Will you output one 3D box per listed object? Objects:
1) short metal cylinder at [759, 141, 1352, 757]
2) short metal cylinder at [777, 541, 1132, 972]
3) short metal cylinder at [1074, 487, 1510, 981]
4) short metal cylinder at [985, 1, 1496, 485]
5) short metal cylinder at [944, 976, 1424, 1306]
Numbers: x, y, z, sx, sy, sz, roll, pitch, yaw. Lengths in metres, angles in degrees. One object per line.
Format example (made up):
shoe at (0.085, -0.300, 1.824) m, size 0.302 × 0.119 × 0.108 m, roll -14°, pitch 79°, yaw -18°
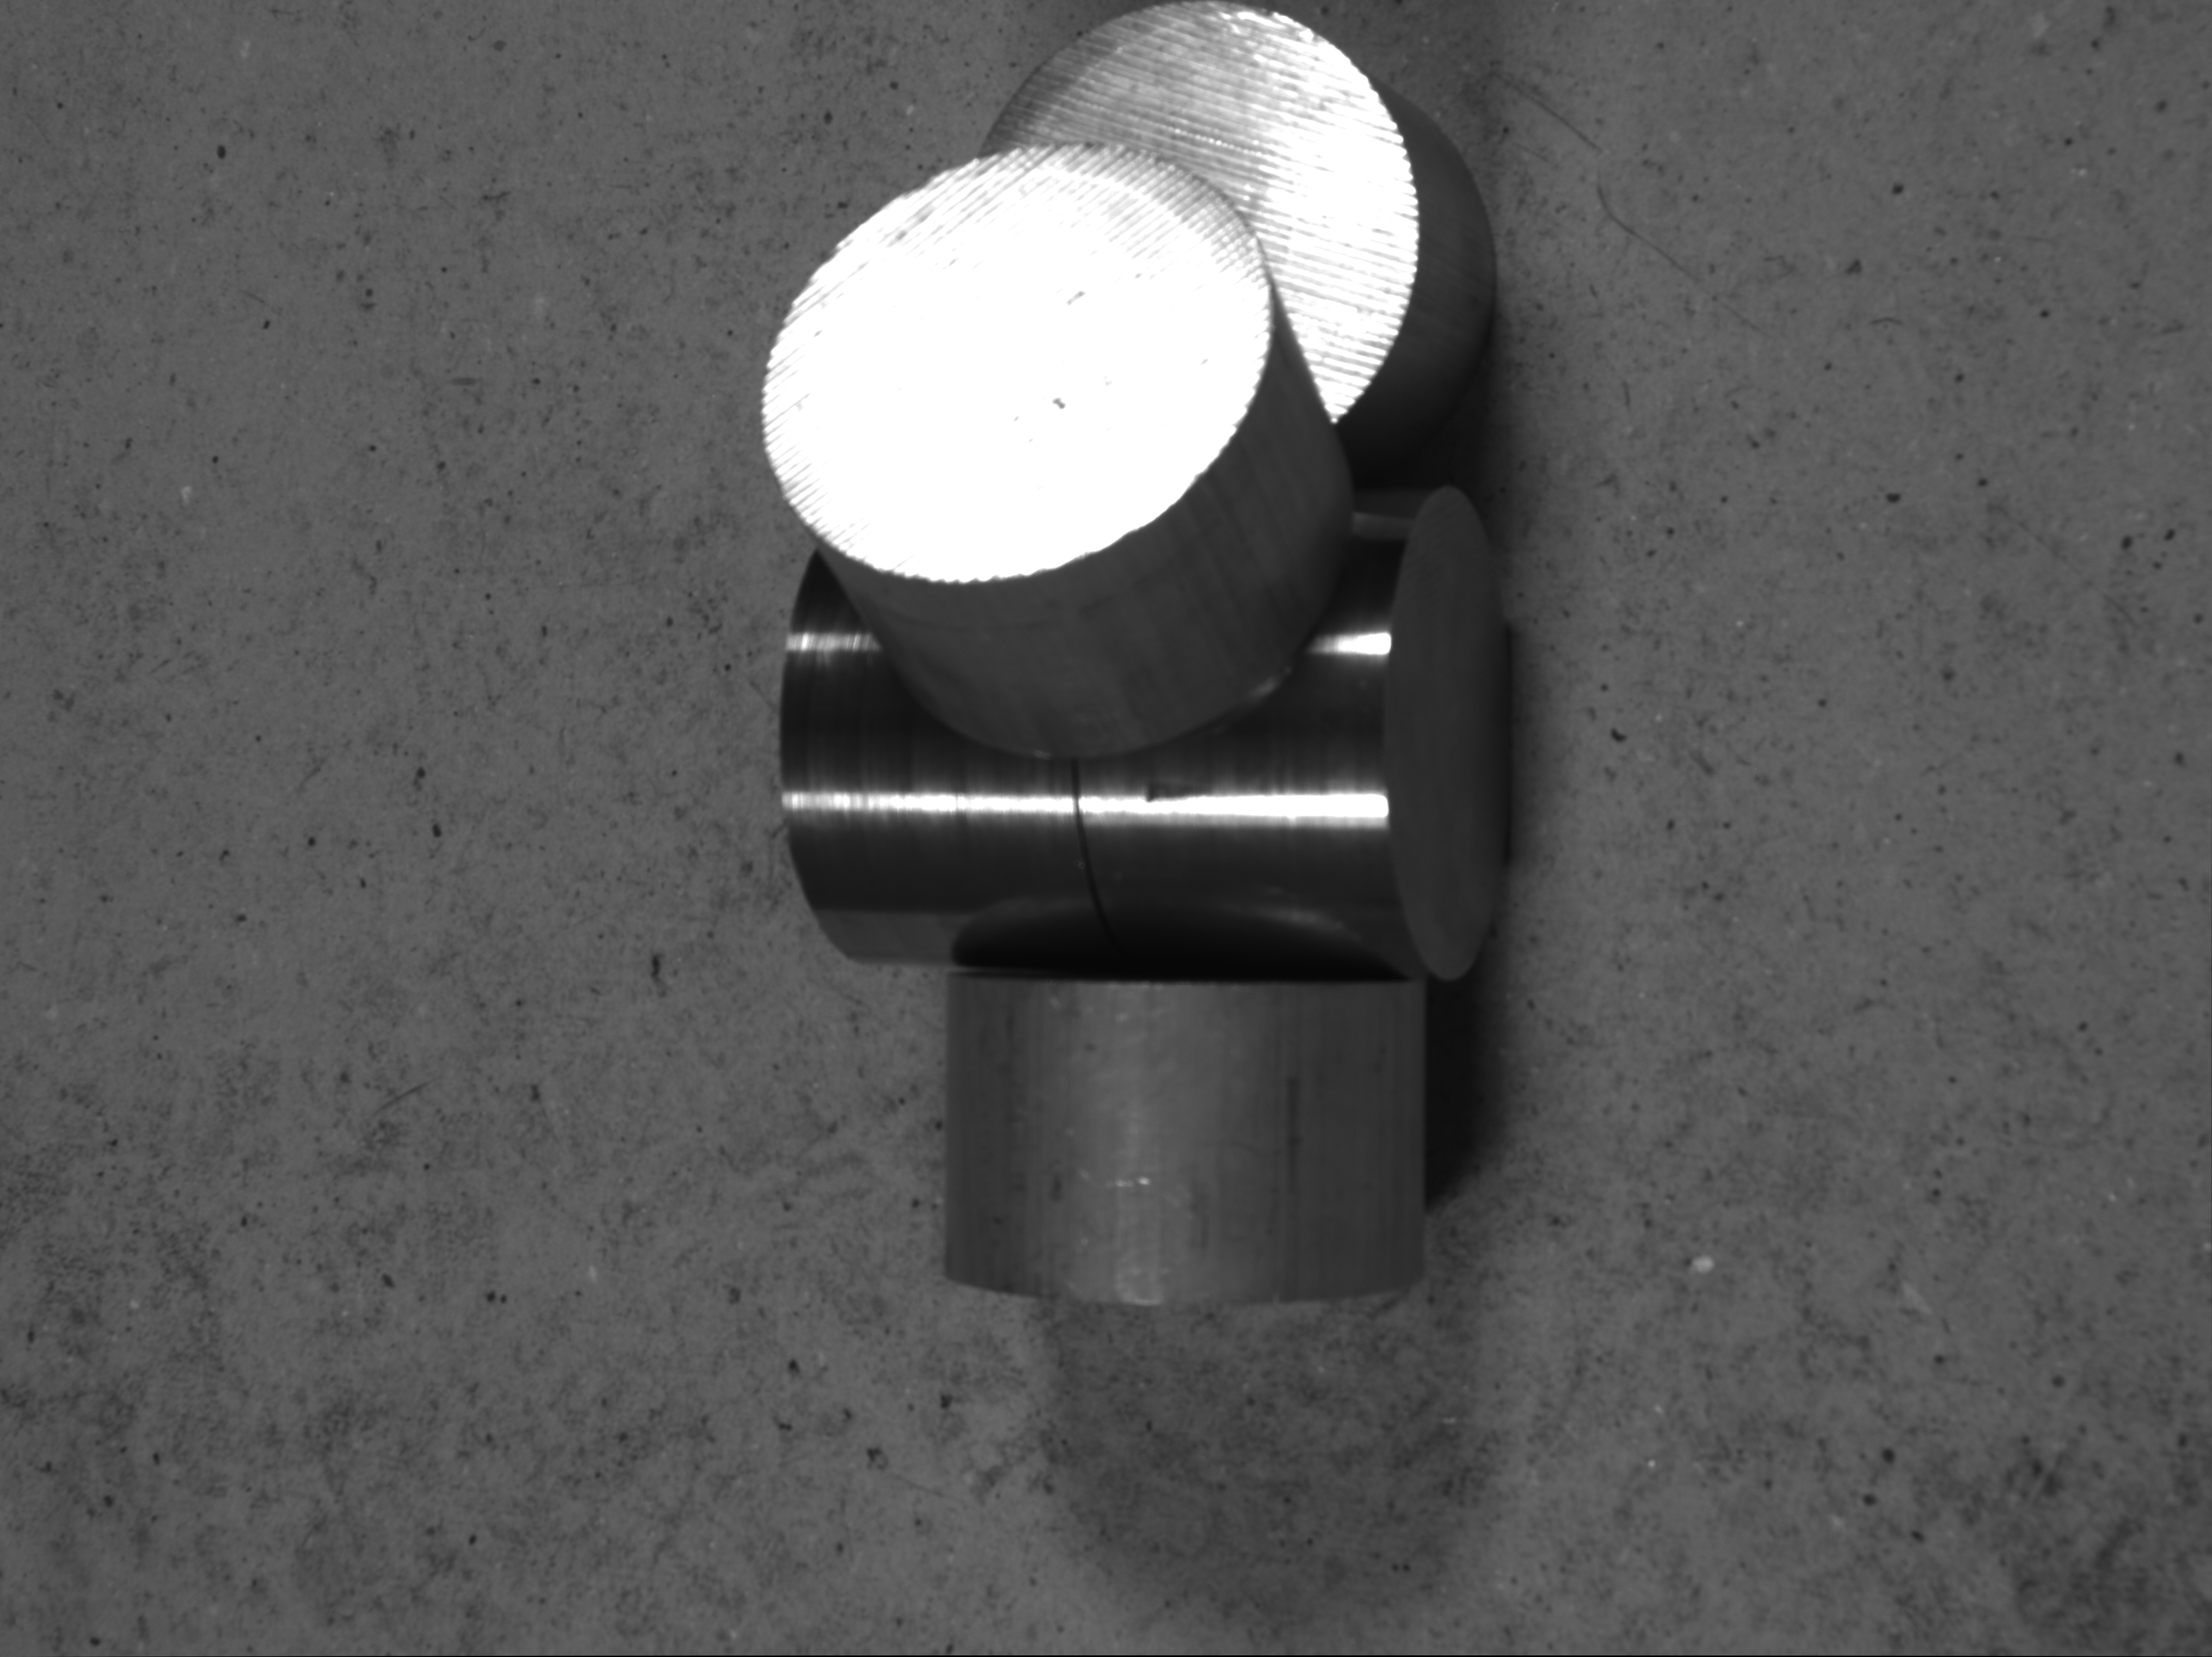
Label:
short metal cylinder at (-0.007, -0.058, 0.563) m, size 0.080 × 0.050 × 0.080 m, roll -9°, pitch 59°, yaw 14°
short metal cylinder at (-0.016, -0.016, 0.622) m, size 0.050 × 0.080 × 0.080 m, roll 1°, pitch 90°, yaw 20°
short metal cylinder at (0.032, -0.015, 0.603) m, size 0.050 × 0.080 × 0.080 m, roll 0°, pitch 90°, yaw 21°
short metal cylinder at (0.021, -0.096, 0.625) m, size 0.080 × 0.050 × 0.080 m, roll 0°, pitch 90°, yaw 20°
short metal cylinder at (0.013, 0.050, 0.611) m, size 0.080 × 0.080 × 0.050 m, roll 0°, pitch 90°, yaw 20°
